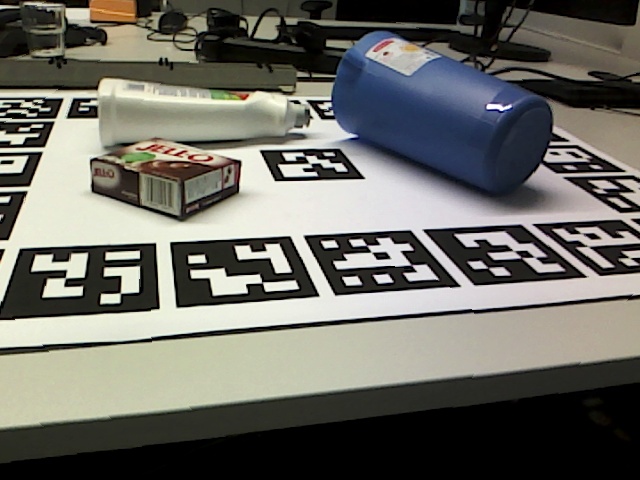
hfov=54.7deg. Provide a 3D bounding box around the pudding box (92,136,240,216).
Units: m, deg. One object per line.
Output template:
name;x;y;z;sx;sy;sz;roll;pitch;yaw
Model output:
pudding box;-0.150;-0.066;0.603;0.114;0.038;0.089;22;27;24

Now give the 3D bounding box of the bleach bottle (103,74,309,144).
bleach bottle;-0.134;-0.160;0.761;0.250;0.068;0.103;-3;34;-18

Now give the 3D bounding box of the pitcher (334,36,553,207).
pitcher;0.145;-0.134;0.727;0.244;0.133;0.187;40;9;38
